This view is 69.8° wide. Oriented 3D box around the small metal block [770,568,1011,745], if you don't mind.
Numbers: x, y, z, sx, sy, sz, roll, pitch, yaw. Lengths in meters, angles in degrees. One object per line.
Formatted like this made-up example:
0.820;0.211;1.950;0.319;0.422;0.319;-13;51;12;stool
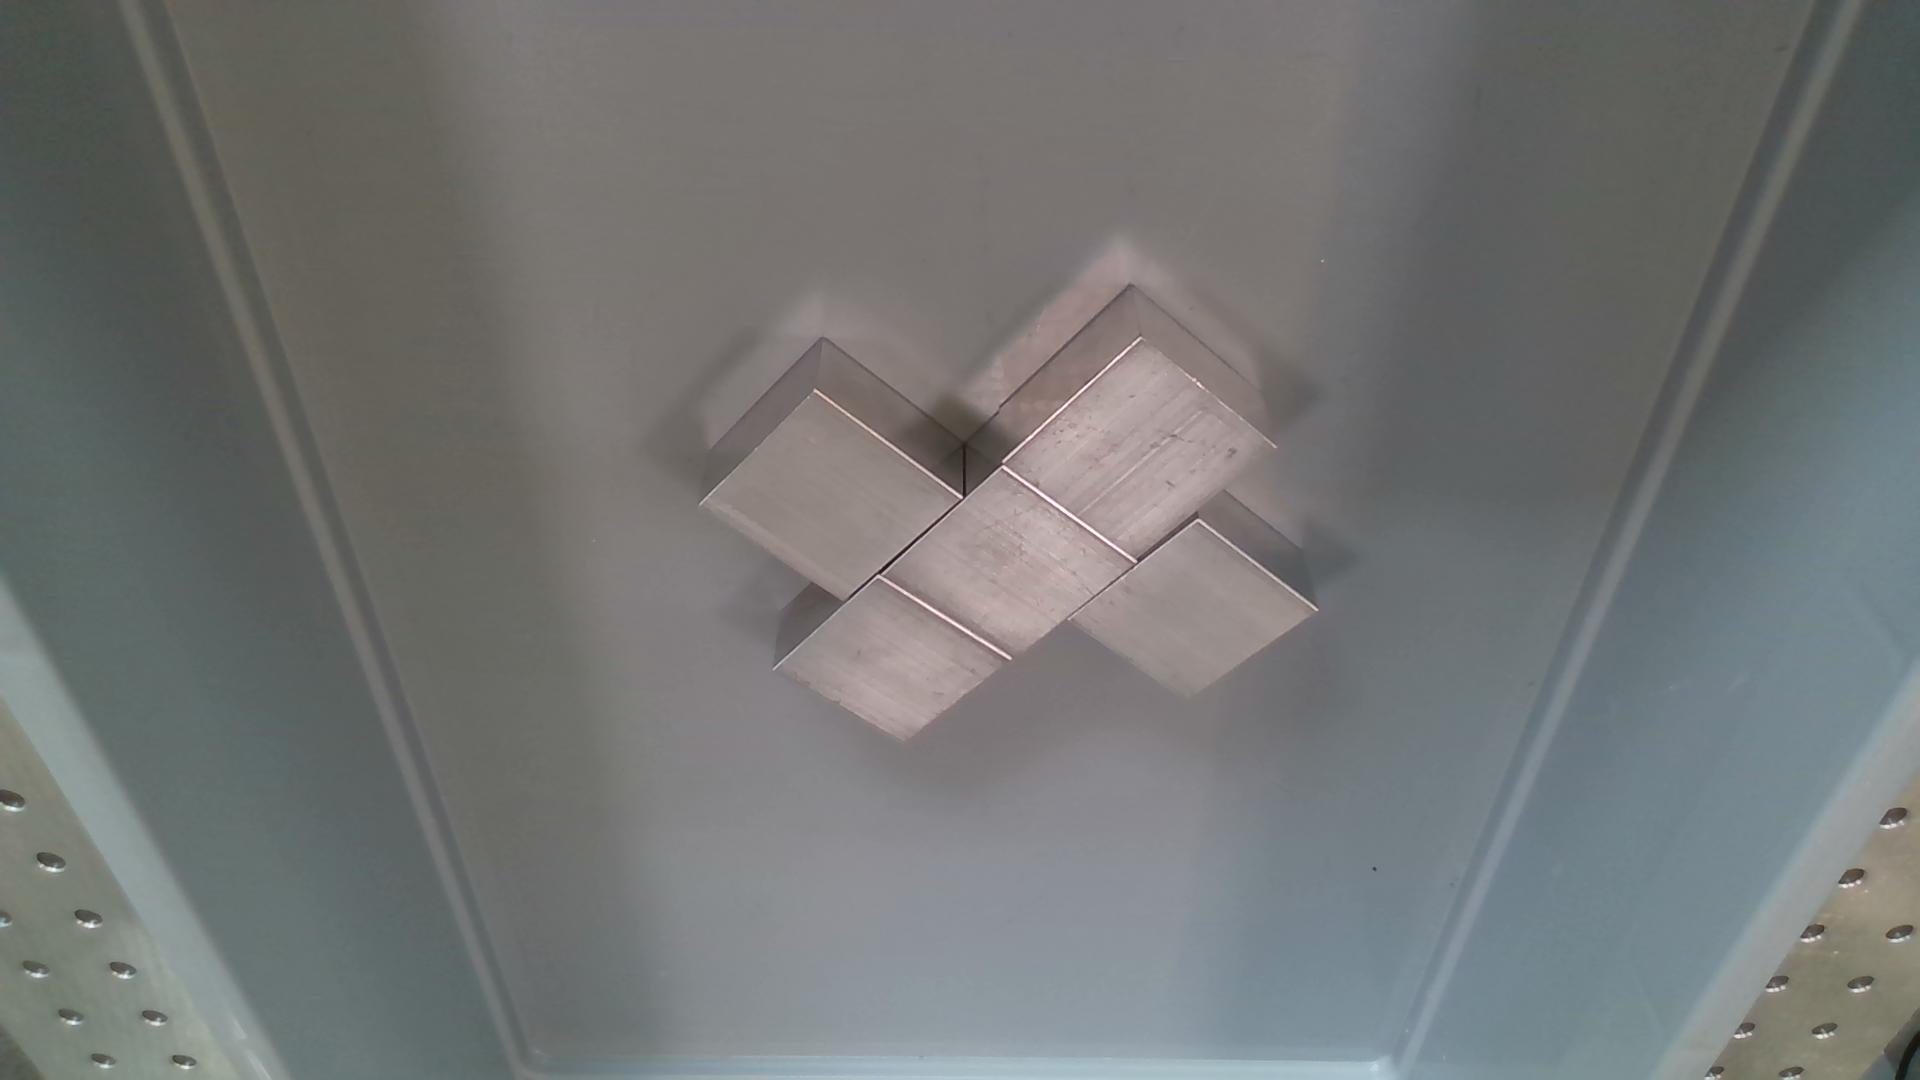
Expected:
-0.020;0.028;0.410;0.050;0.025;0.050;34;122;-25;small metal block

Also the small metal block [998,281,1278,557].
0.046;-0.030;0.361;0.050;0.025;0.050;34;122;-25;small metal block

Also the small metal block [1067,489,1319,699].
0.065;0.012;0.397;0.050;0.025;0.050;34;123;-26;small metal block

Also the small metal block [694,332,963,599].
-0.035;-0.019;0.371;0.050;0.025;0.050;36;122;-25;small metal block

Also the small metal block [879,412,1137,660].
0.013;0.000;0.386;0.050;0.025;0.050;34;122;-25;small metal block
